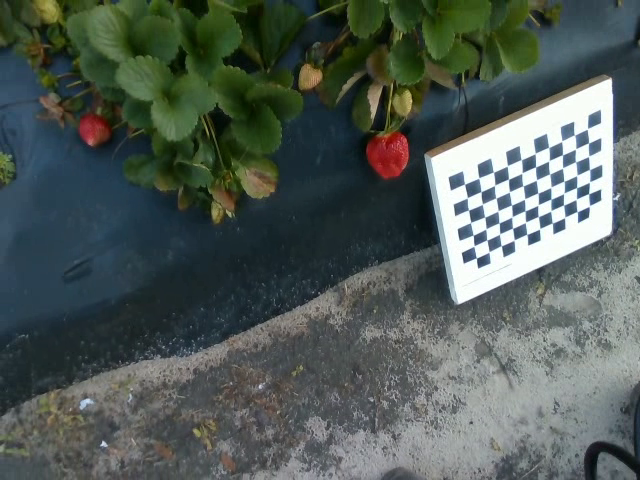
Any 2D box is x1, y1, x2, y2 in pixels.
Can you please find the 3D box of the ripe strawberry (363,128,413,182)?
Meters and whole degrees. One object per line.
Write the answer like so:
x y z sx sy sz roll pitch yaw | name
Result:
0.098 -0.122 0.863 0.067 0.075 0.039 -19 31 -7 | ripe strawberry
